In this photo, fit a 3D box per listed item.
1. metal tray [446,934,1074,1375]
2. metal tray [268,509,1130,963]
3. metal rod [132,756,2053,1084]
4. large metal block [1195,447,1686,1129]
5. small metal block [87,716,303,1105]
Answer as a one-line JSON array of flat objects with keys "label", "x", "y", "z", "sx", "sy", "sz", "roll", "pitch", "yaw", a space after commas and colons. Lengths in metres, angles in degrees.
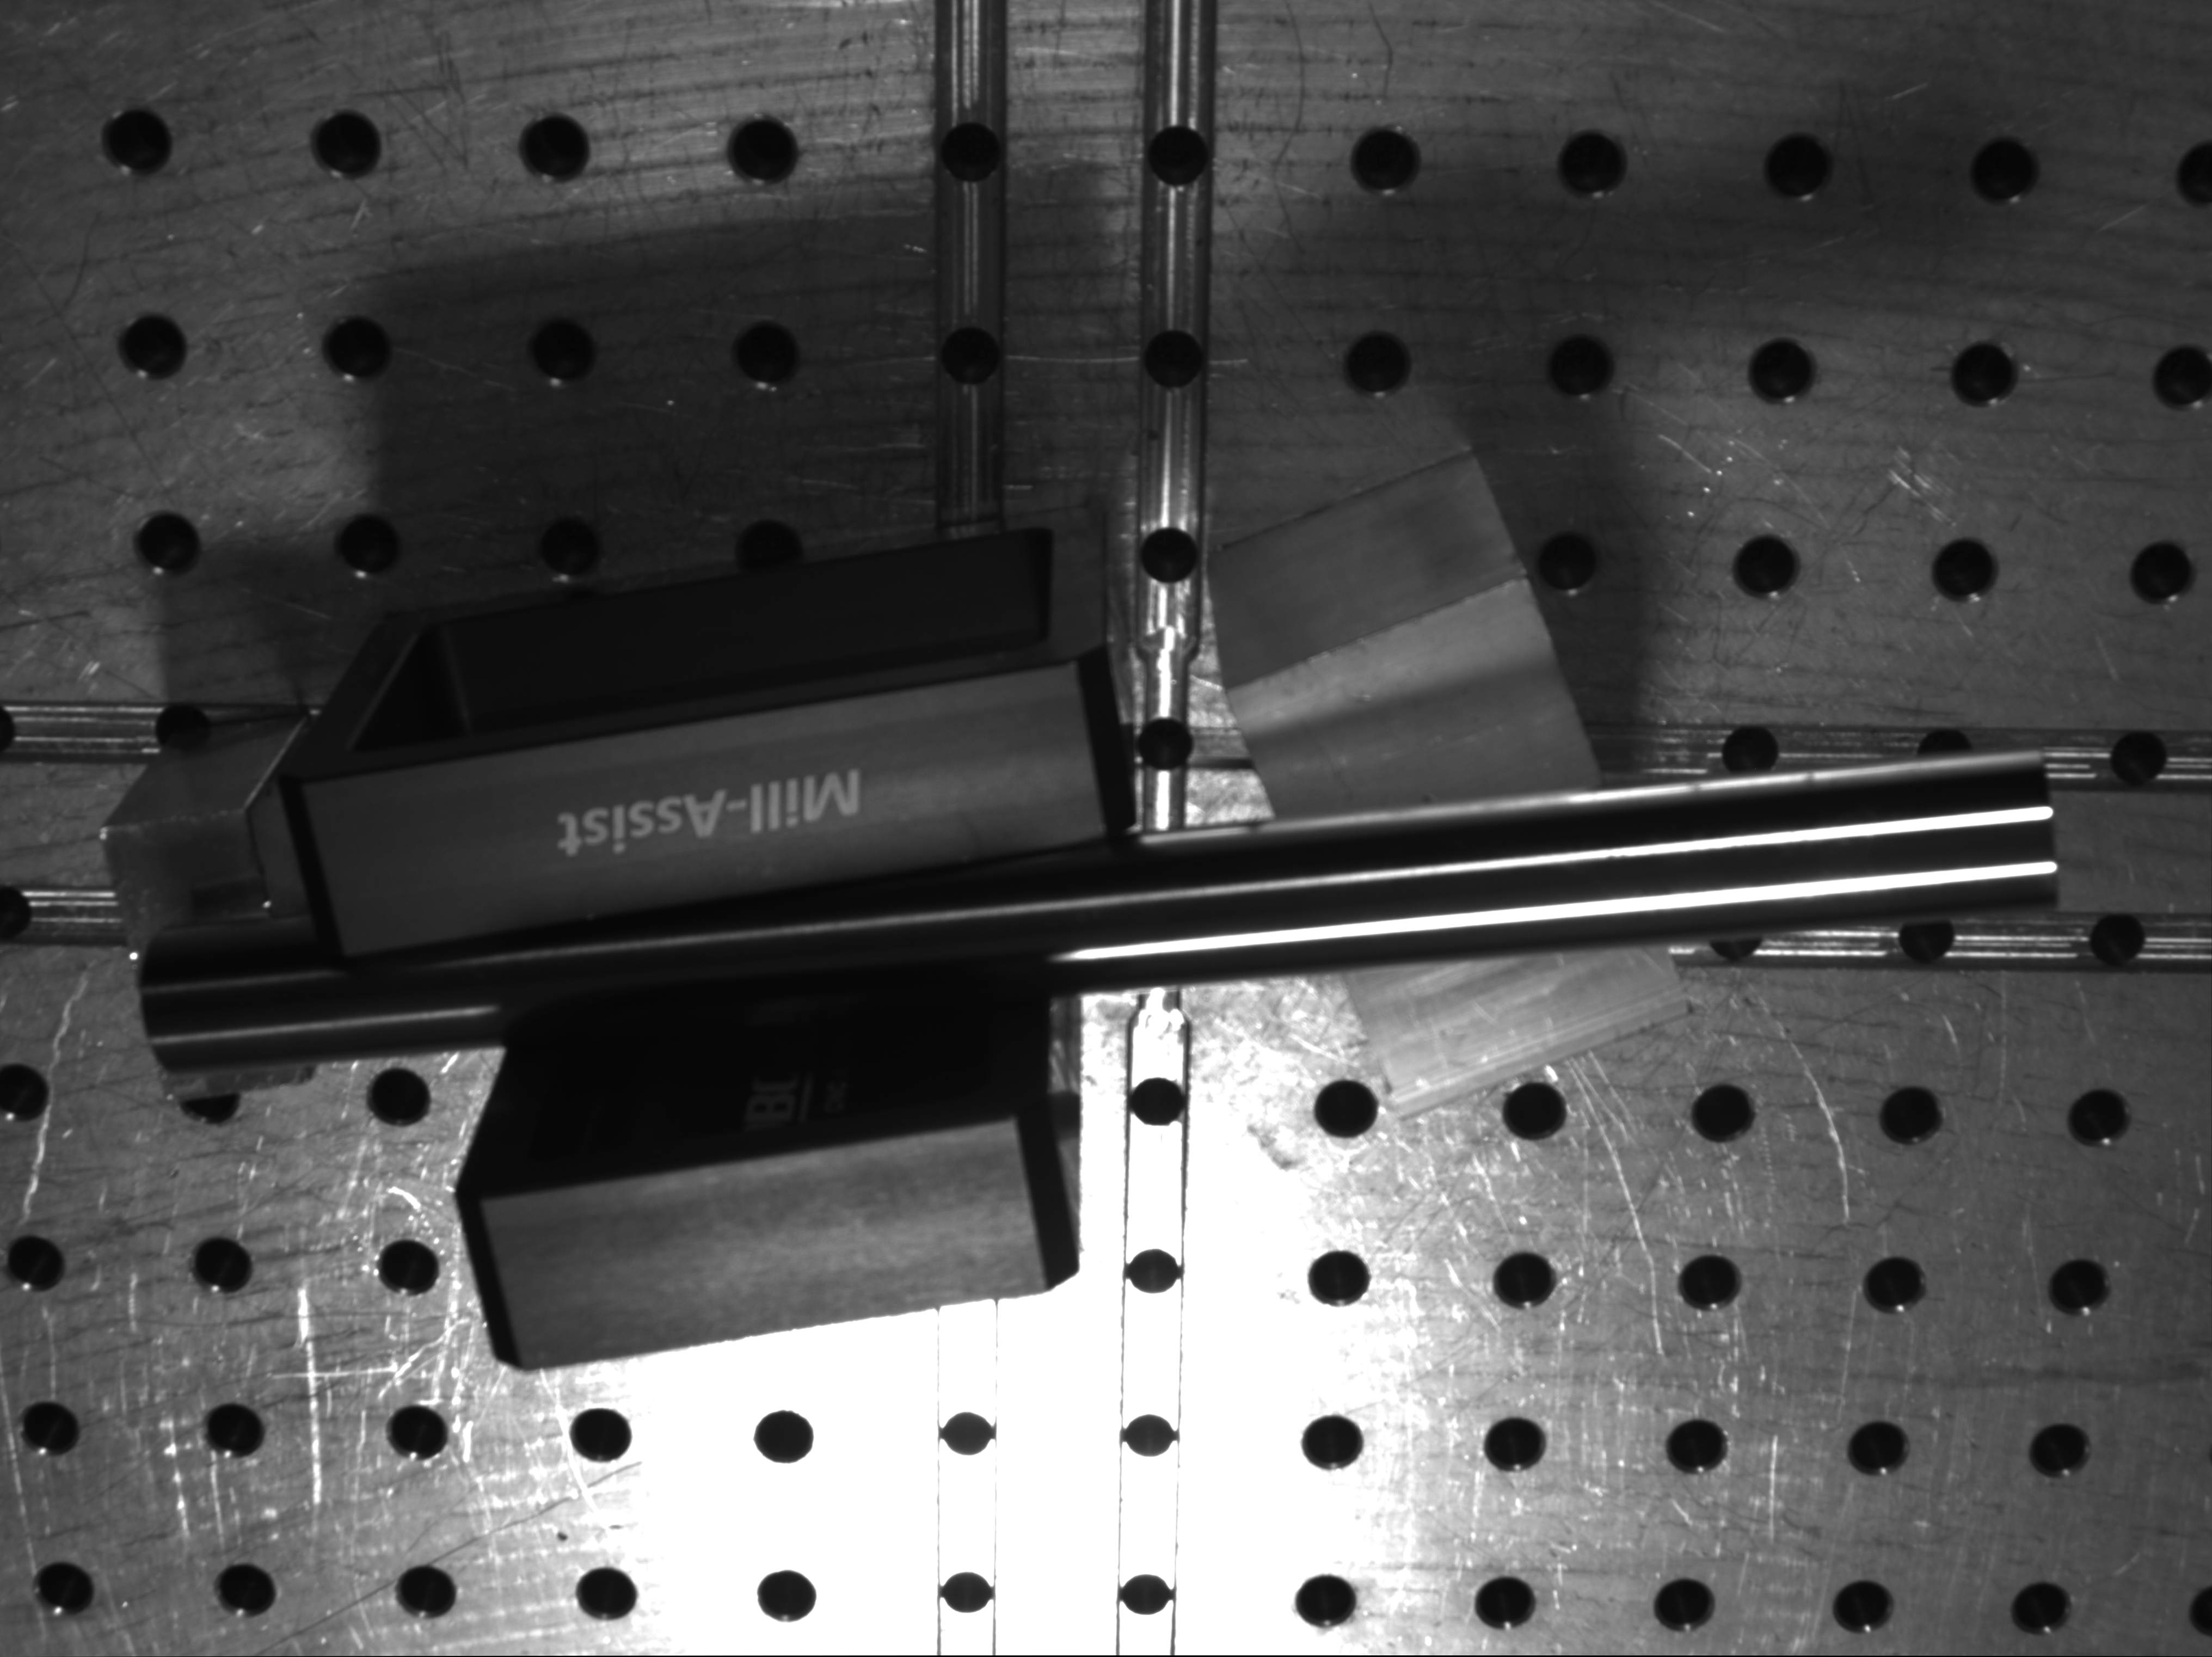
[{"label": "metal tray", "x": -0.052, "y": 0.040, "z": 0.604, "sx": 0.090, "sy": 0.130, "sz": 0.030, "roll": -9, "pitch": 110, "yaw": 3}, {"label": "metal tray", "x": -0.063, "y": -0.017, "z": 0.603, "sx": 0.130, "sy": 0.090, "sz": 0.030, "roll": -8, "pitch": 111, "yaw": 2}, {"label": "metal rod", "x": -0.008, "y": 0.016, "z": 0.571, "sx": 0.300, "sy": 0.025, "sz": 0.025, "roll": -5, "pitch": 110, "yaw": 11}, {"label": "large metal block", "x": 0.054, "y": -0.009, "z": 0.613, "sx": 0.050, "sy": 0.080, "sz": 0.080, "roll": -21, "pitch": 109, "yaw": 7}, {"label": "small metal block", "x": -0.152, "y": 0.013, "z": 0.635, "sx": 0.025, "sy": 0.050, "sz": 0.050, "roll": -8, "pitch": 110, "yaw": 2}]
